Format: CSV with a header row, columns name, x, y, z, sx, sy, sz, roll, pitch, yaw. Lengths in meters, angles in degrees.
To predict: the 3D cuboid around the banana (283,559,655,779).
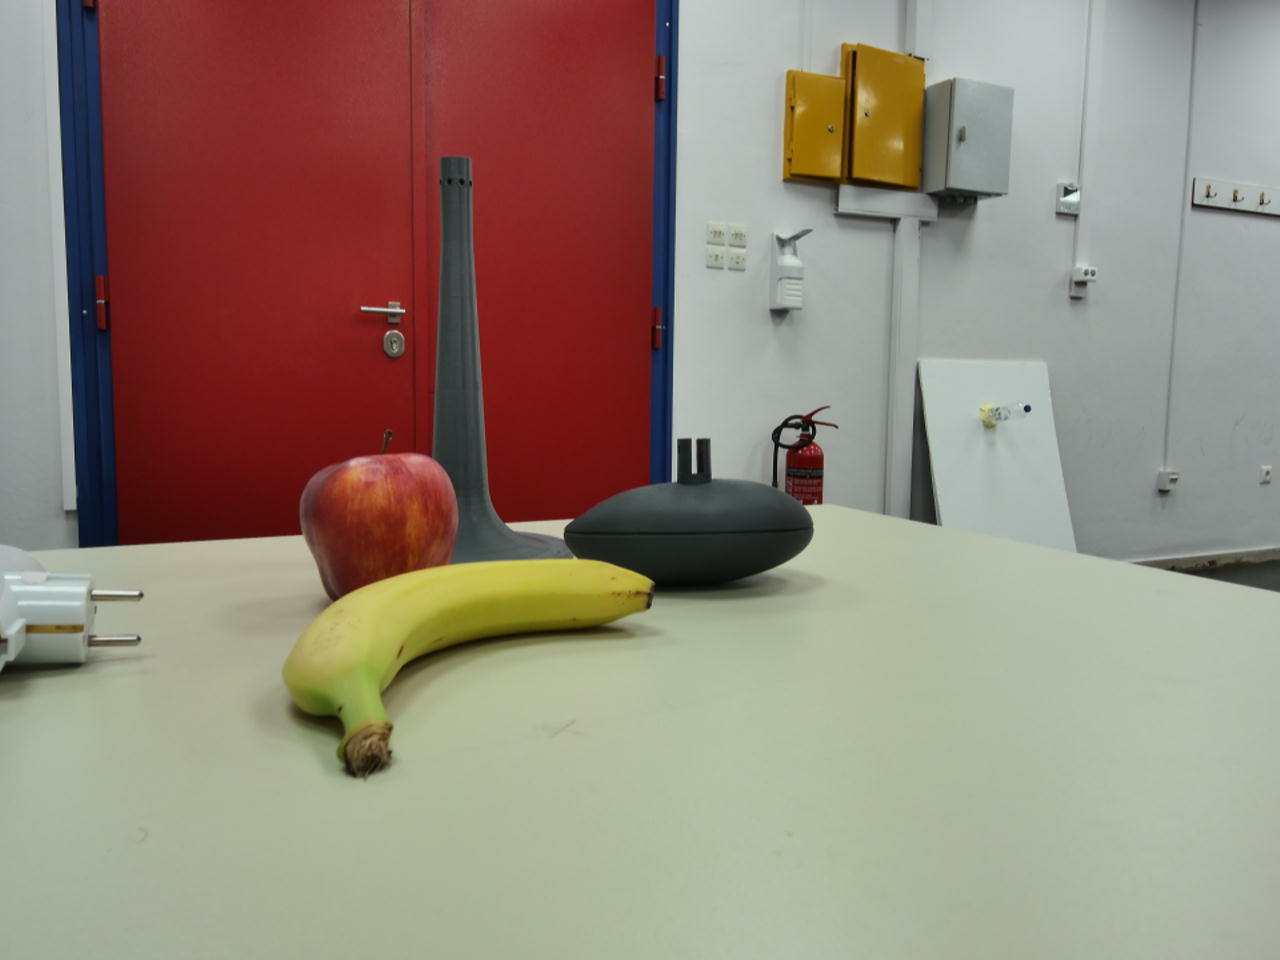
name,x,y,z,sx,sy,sz,roll,pitch,yaw
banana,-0.075,0.060,0.399,0.094,0.041,0.196,2,5,28
